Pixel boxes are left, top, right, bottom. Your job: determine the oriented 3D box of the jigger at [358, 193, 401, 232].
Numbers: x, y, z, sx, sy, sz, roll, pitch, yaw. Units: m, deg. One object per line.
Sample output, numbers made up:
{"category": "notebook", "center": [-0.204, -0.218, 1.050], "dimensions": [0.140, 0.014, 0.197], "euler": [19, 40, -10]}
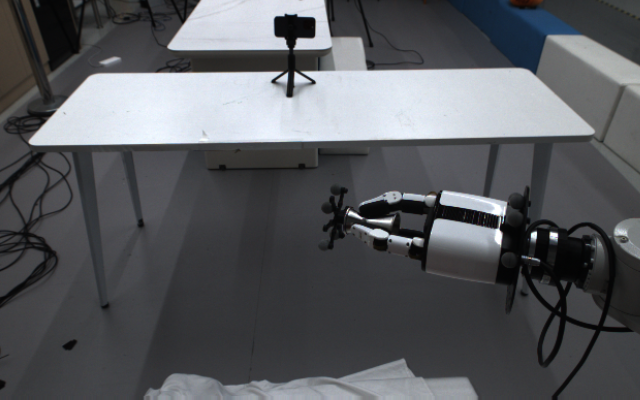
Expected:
{"category": "jigger", "center": [0.076, 0.031, 0.658], "dimensions": [0.071, 0.043, 0.043], "euler": [10, 35, 22]}
